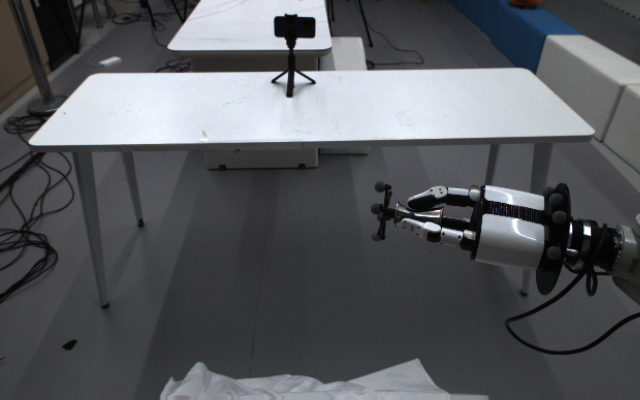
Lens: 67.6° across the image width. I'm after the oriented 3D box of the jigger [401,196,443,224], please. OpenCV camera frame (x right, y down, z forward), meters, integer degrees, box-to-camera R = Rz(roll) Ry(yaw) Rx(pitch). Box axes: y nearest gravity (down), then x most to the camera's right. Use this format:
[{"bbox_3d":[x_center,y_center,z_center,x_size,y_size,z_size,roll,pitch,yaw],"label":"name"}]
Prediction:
[{"bbox_3d":[0.154,0.022,0.726,0.071,0.043,0.043,8,35,16],"label":"jigger"}]
